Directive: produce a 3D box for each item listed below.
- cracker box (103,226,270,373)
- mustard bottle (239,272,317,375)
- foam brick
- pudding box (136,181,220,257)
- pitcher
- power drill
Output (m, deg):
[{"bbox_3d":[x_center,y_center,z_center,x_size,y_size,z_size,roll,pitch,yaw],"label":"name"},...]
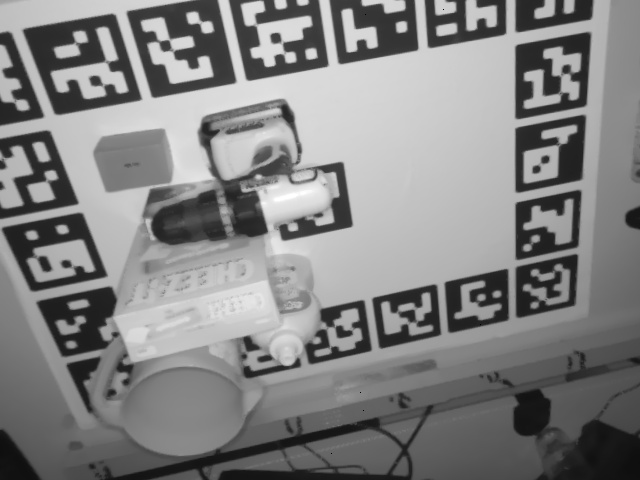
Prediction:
[{"bbox_3d":[-0.155,0.042,0.808,0.165,0.214,0.071,-15,120,-3],"label":"cracker box"},{"bbox_3d":[-0.053,0.108,0.866,0.097,0.192,0.058,0,116,-8],"label":"mustard bottle"},{"bbox_3d":[-0.234,-0.085,0.828,0.078,0.051,0.052,-10,116,-4],"label":"foam brick"},{"bbox_3d":[-0.162,-0.026,0.833,0.114,0.090,0.038,-12,120,-6],"label":"pudding box"},{"bbox_3d":[-0.182,0.142,0.849,0.190,0.243,0.132,-7,118,-7],"label":"pitcher"},{"bbox_3d":[-0.104,-0.061,0.747,0.185,0.188,0.057,-13,122,-1],"label":"power drill"}]
